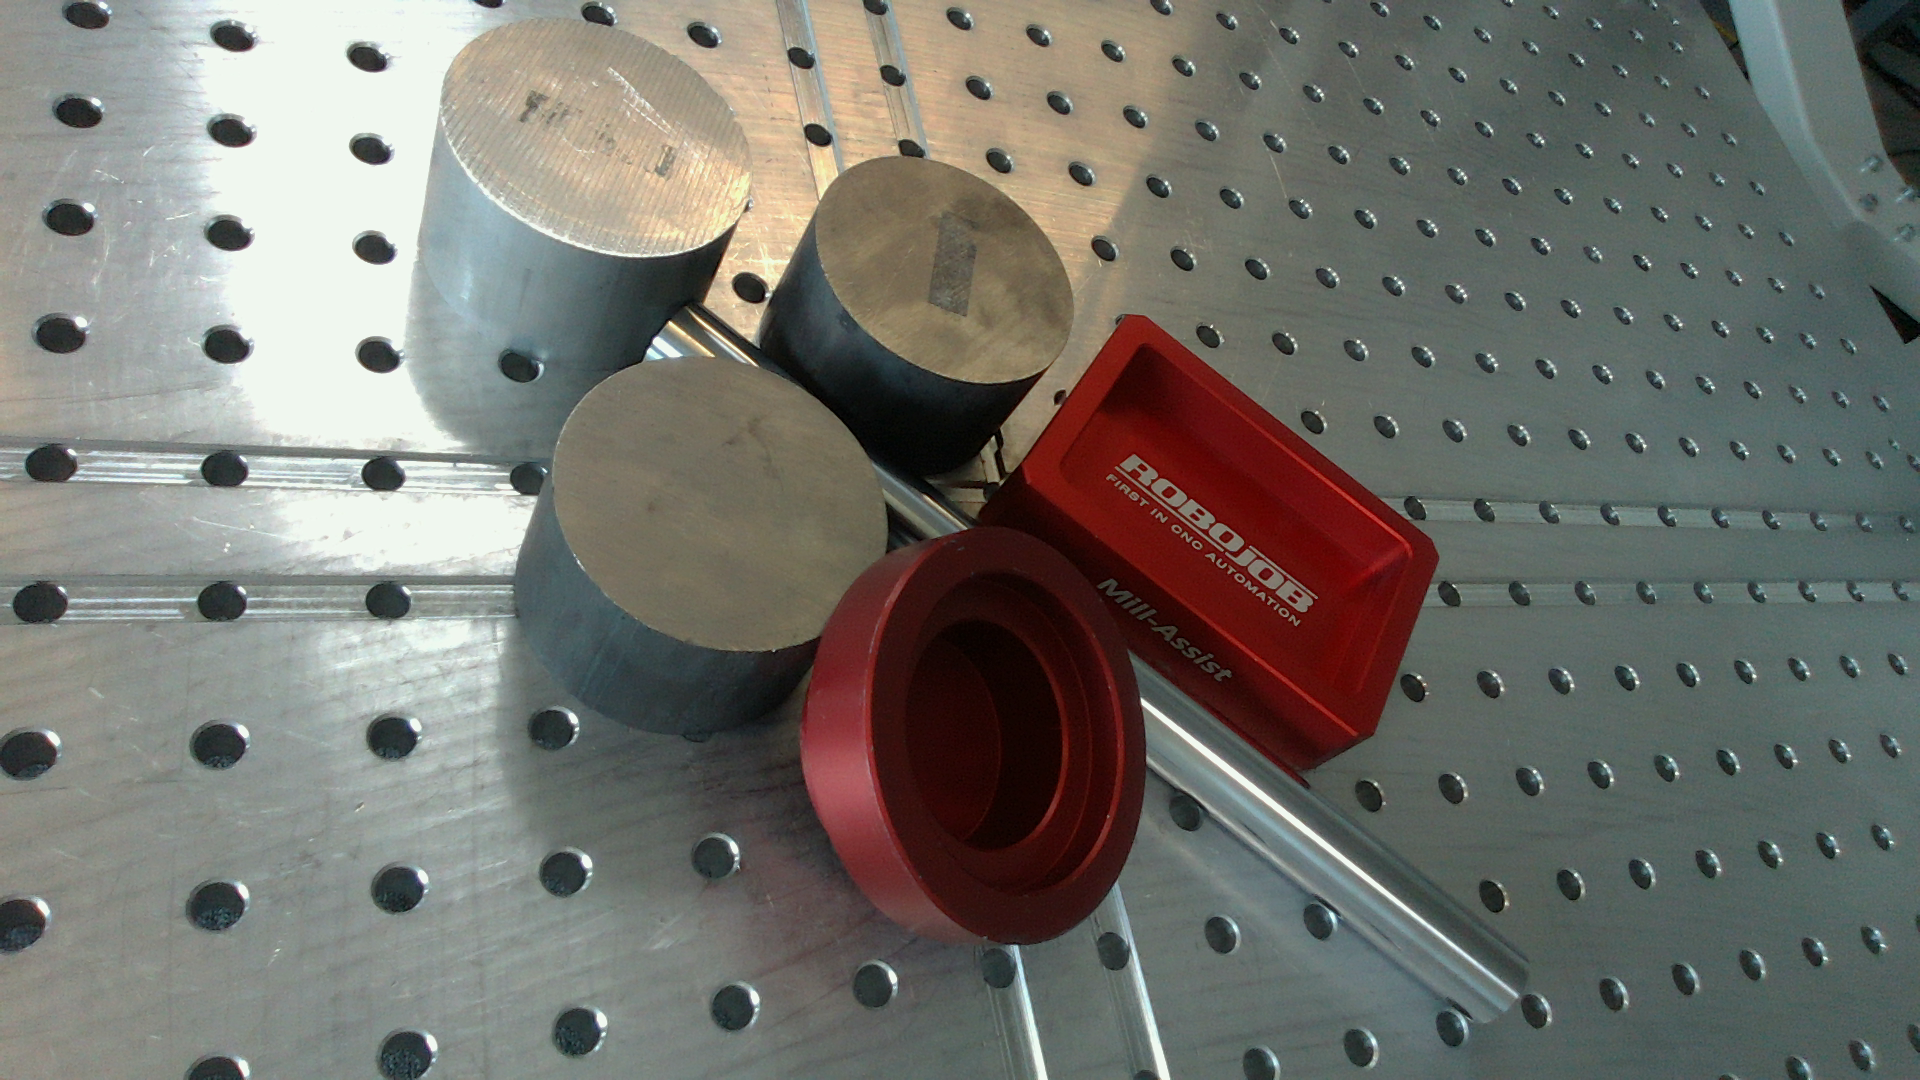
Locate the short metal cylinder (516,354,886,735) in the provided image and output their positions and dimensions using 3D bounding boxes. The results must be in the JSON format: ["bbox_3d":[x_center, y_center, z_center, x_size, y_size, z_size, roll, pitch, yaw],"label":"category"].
[{"bbox_3d":[-0.065,0.002,0.340,0.080,0.050,0.080,14,56,-21],"label":"short metal cylinder"}]

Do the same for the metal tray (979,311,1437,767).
[{"bbox_3d":[0.081,-0.002,0.433,0.130,0.030,0.090,38,52,-3],"label":"metal tray"}]

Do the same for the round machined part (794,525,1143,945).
[{"bbox_3d":[-0.001,0.048,0.338,0.098,0.042,0.098,17,66,-43],"label":"round machined part"}]

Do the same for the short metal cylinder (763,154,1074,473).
[{"bbox_3d":[-0.013,-0.067,0.409,0.080,0.050,0.080,14,56,-21],"label":"short metal cylinder"}]

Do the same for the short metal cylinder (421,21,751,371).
[{"bbox_3d":[-0.104,-0.094,0.378,0.080,0.050,0.080,14,56,-21],"label":"short metal cylinder"}]

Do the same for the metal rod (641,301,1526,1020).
[{"bbox_3d":[0.036,0.035,0.391,0.300,0.025,0.025,38,51,-3],"label":"metal rod"}]
